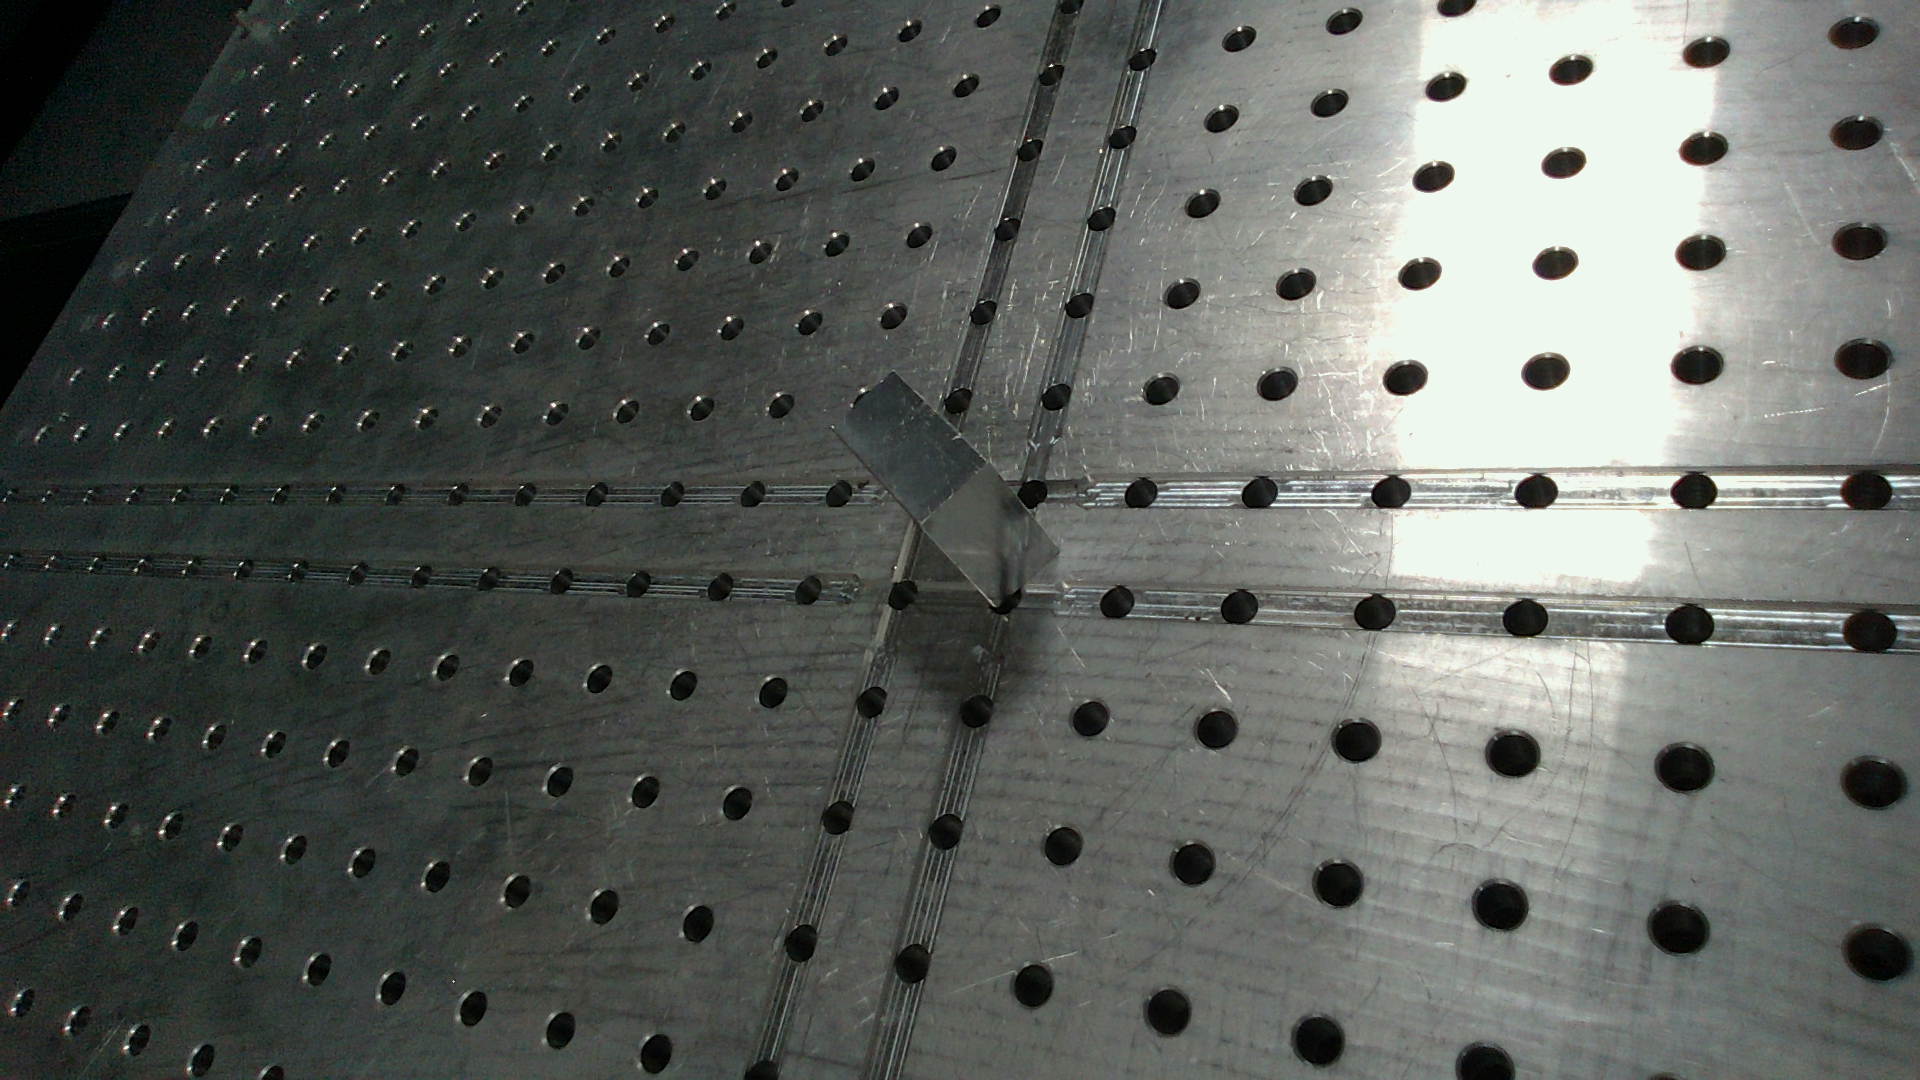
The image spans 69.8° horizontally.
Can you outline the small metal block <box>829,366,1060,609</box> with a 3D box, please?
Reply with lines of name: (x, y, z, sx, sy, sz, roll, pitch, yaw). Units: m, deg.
small metal block: (-0.004, -0.015, 0.392, 0.025, 0.050, 0.050, -43, 51, -1)
